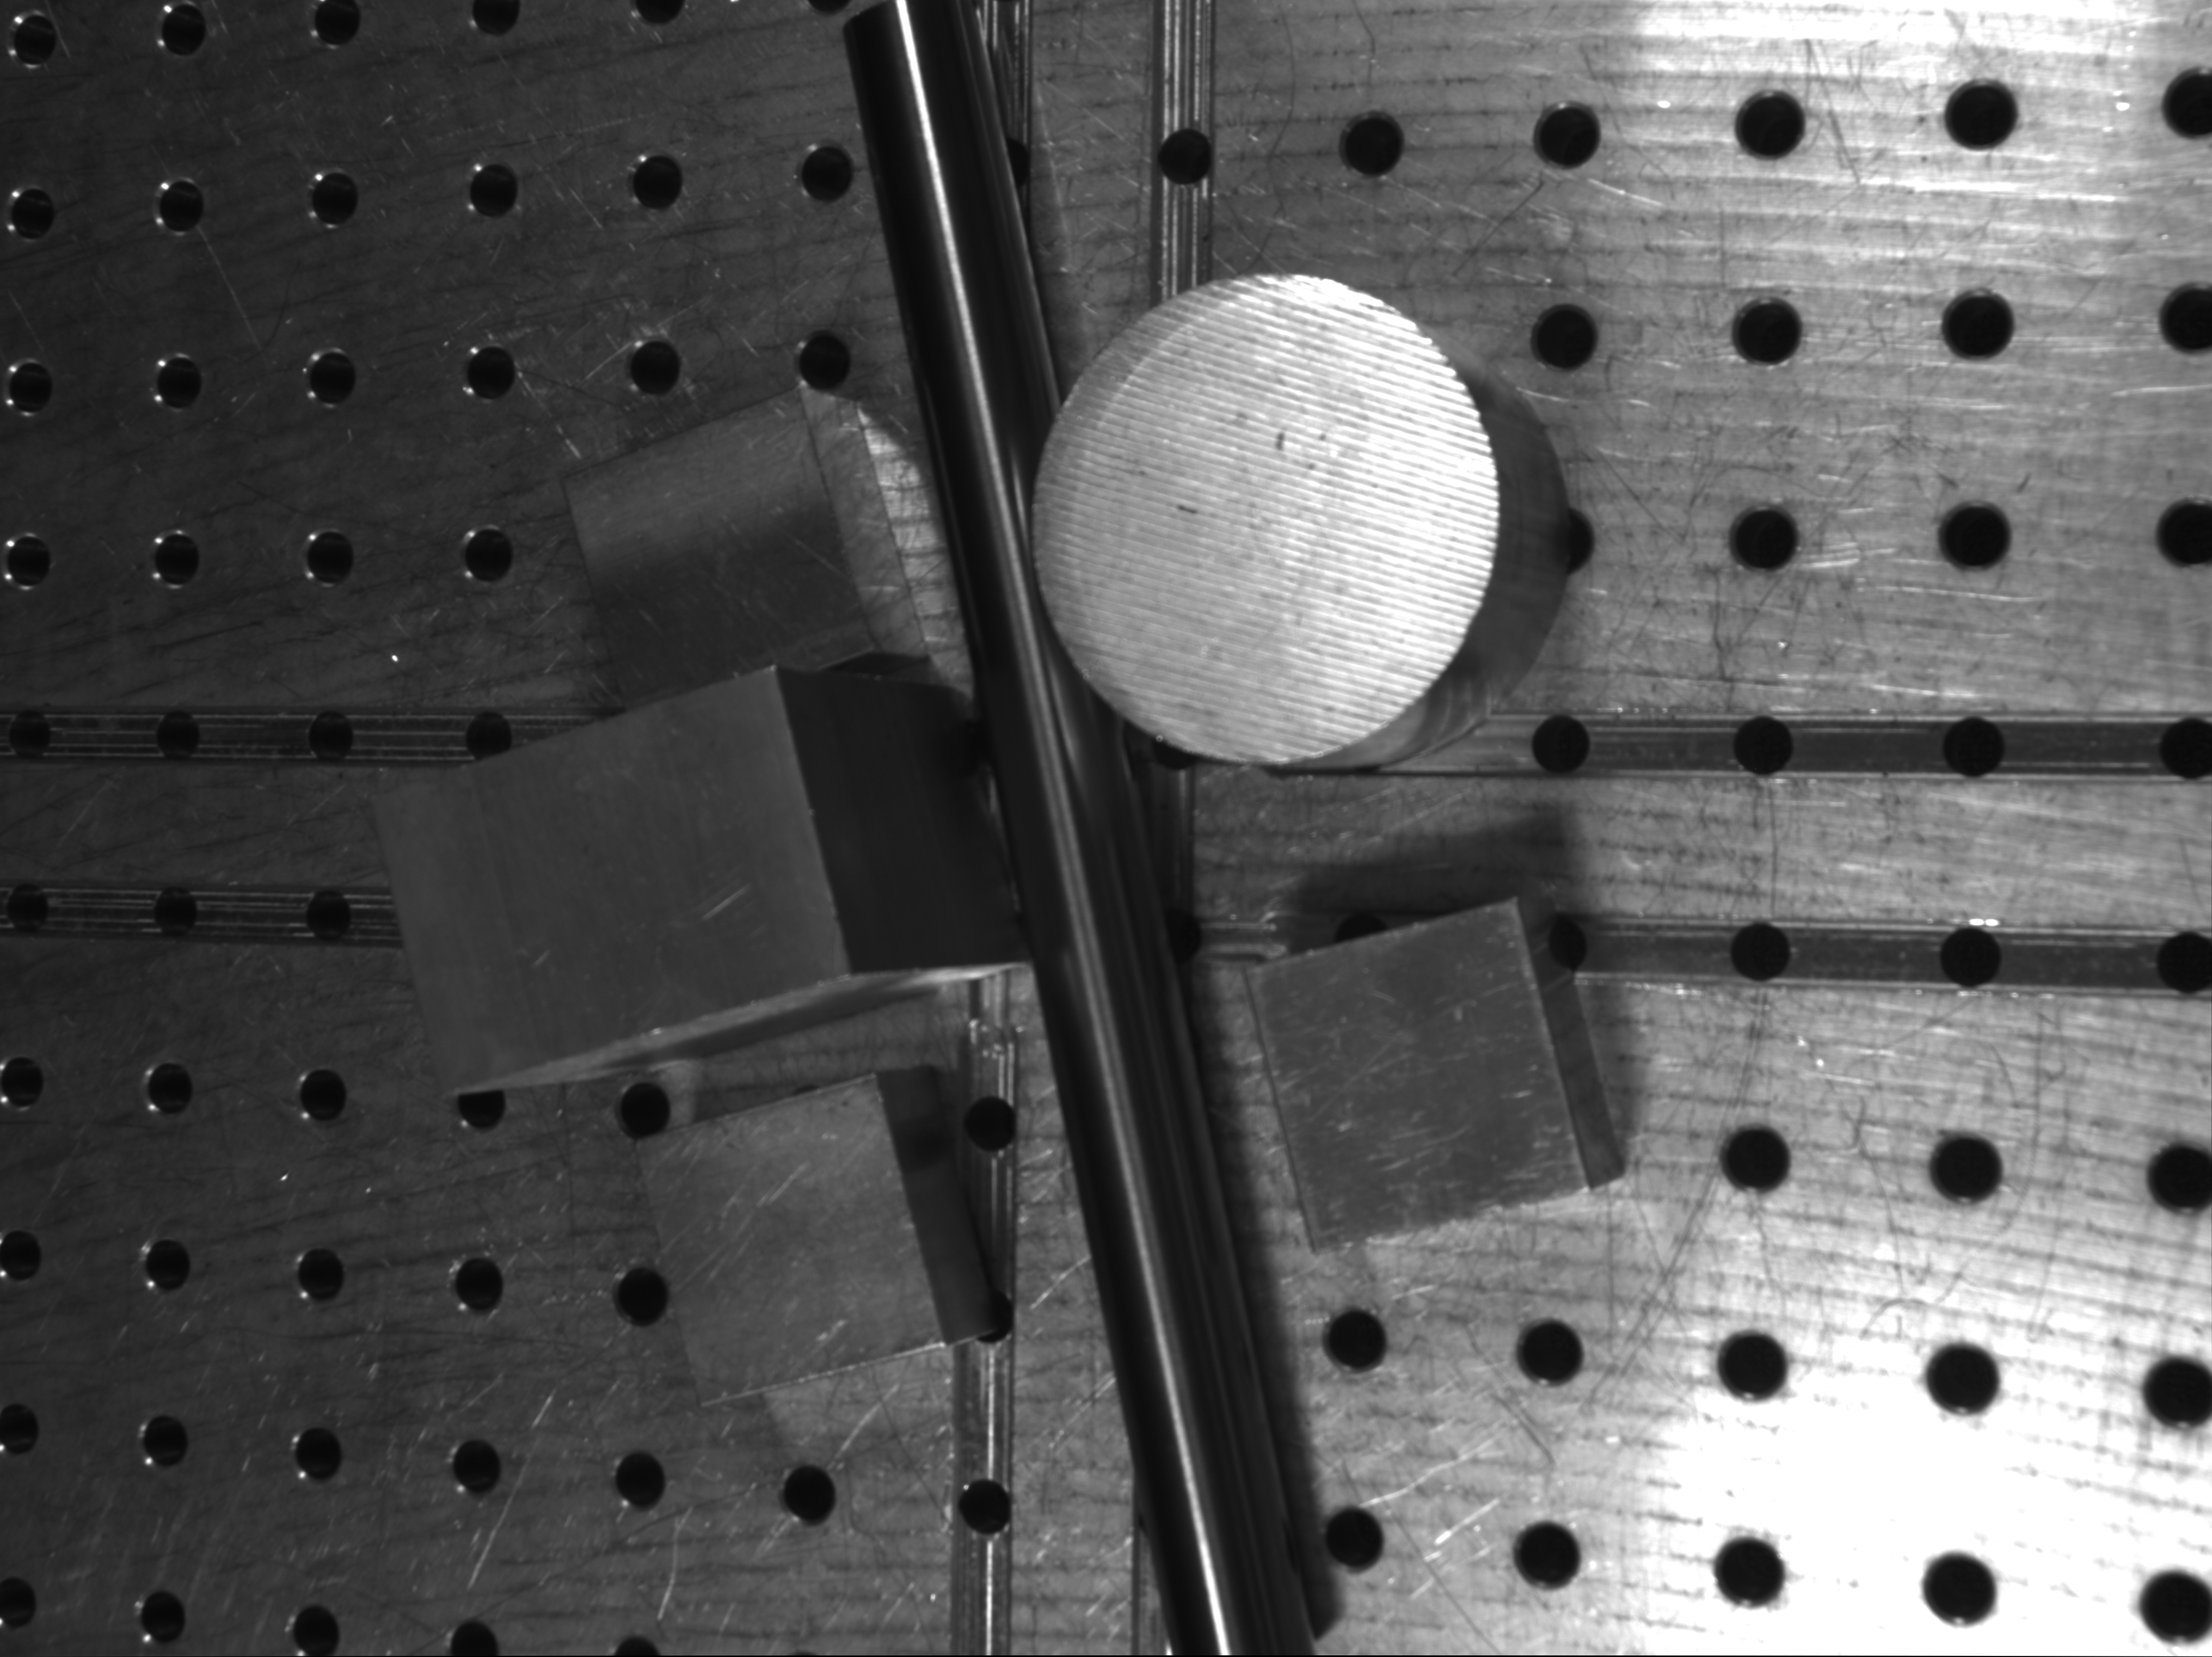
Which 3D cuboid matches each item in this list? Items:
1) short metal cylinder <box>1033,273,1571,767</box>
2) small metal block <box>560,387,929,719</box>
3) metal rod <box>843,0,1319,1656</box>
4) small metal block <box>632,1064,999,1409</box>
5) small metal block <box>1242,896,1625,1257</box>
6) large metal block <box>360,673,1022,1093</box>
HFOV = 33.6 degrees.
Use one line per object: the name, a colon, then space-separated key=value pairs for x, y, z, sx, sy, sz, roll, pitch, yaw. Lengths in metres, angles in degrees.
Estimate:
short metal cylinder: x=0.034 y=-0.051 z=0.621 sx=0.080 sy=0.050 sz=0.080 roll=0 pitch=90 yaw=20
small metal block: x=-0.066 y=-0.047 z=0.671 sx=0.050 sy=0.025 sz=0.050 roll=-18 pitch=84 yaw=19
metal rod: x=-0.005 y=0.001 z=0.648 sx=0.025 sy=0.025 sz=0.300 roll=-13 pitch=86 yaw=19
small metal block: x=-0.053 y=0.074 z=0.665 sx=0.050 sy=0.025 sz=0.050 roll=-17 pitch=84 yaw=19
small metal block: x=0.056 y=0.042 z=0.627 sx=0.050 sy=0.025 sz=0.050 roll=-16 pitch=85 yaw=19
large metal block: x=-0.070 y=0.010 z=0.641 sx=0.080 sy=0.080 sz=0.050 roll=-16 pitch=84 yaw=19
